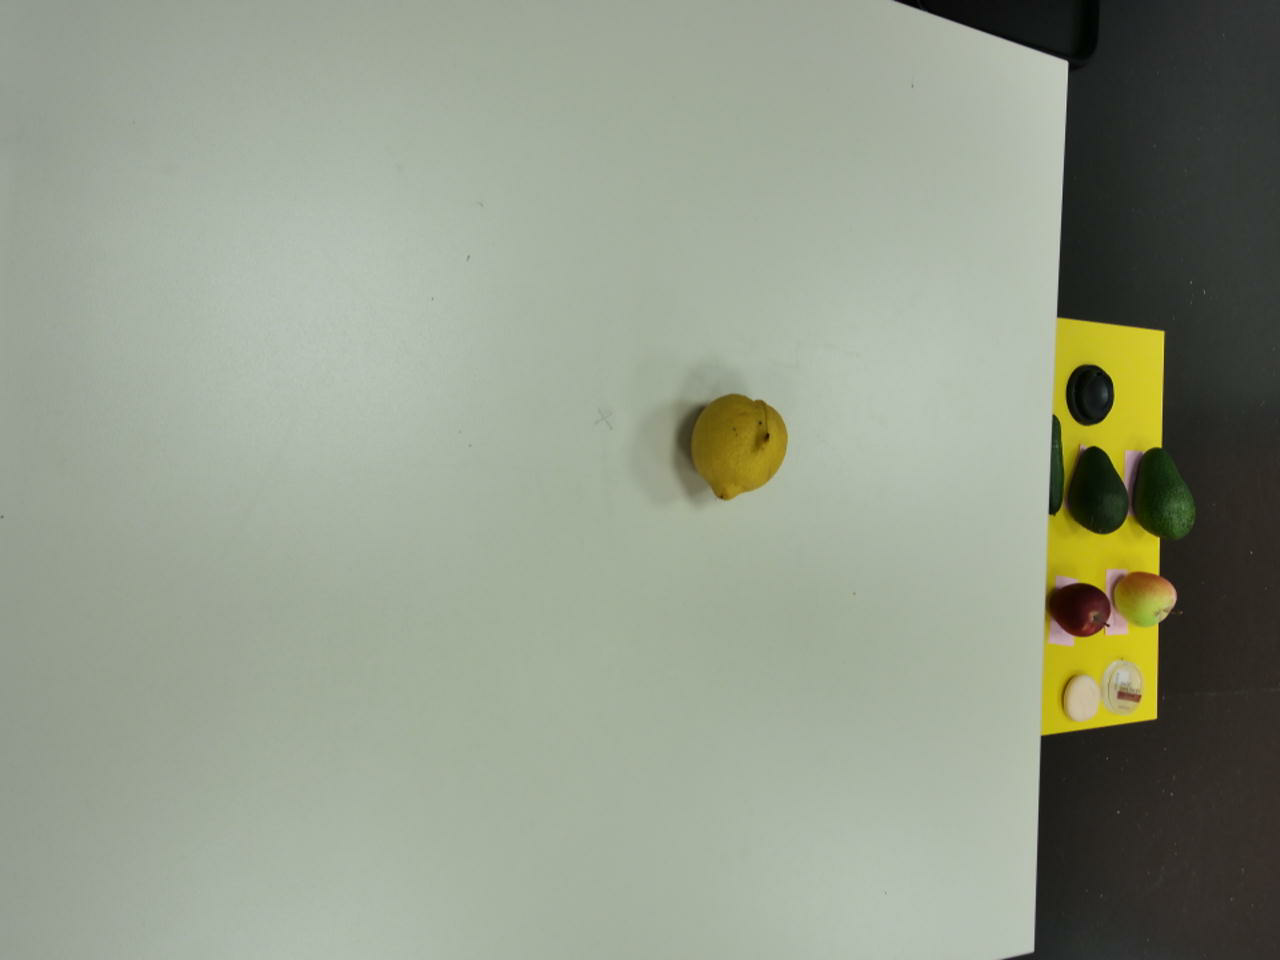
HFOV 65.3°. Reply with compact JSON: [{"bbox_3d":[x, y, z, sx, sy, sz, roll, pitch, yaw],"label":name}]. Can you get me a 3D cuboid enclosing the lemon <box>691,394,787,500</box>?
[{"bbox_3d":[0.073,-0.026,0.720,0.071,0.071,0.070,-33,106,-24],"label":"lemon"}]
